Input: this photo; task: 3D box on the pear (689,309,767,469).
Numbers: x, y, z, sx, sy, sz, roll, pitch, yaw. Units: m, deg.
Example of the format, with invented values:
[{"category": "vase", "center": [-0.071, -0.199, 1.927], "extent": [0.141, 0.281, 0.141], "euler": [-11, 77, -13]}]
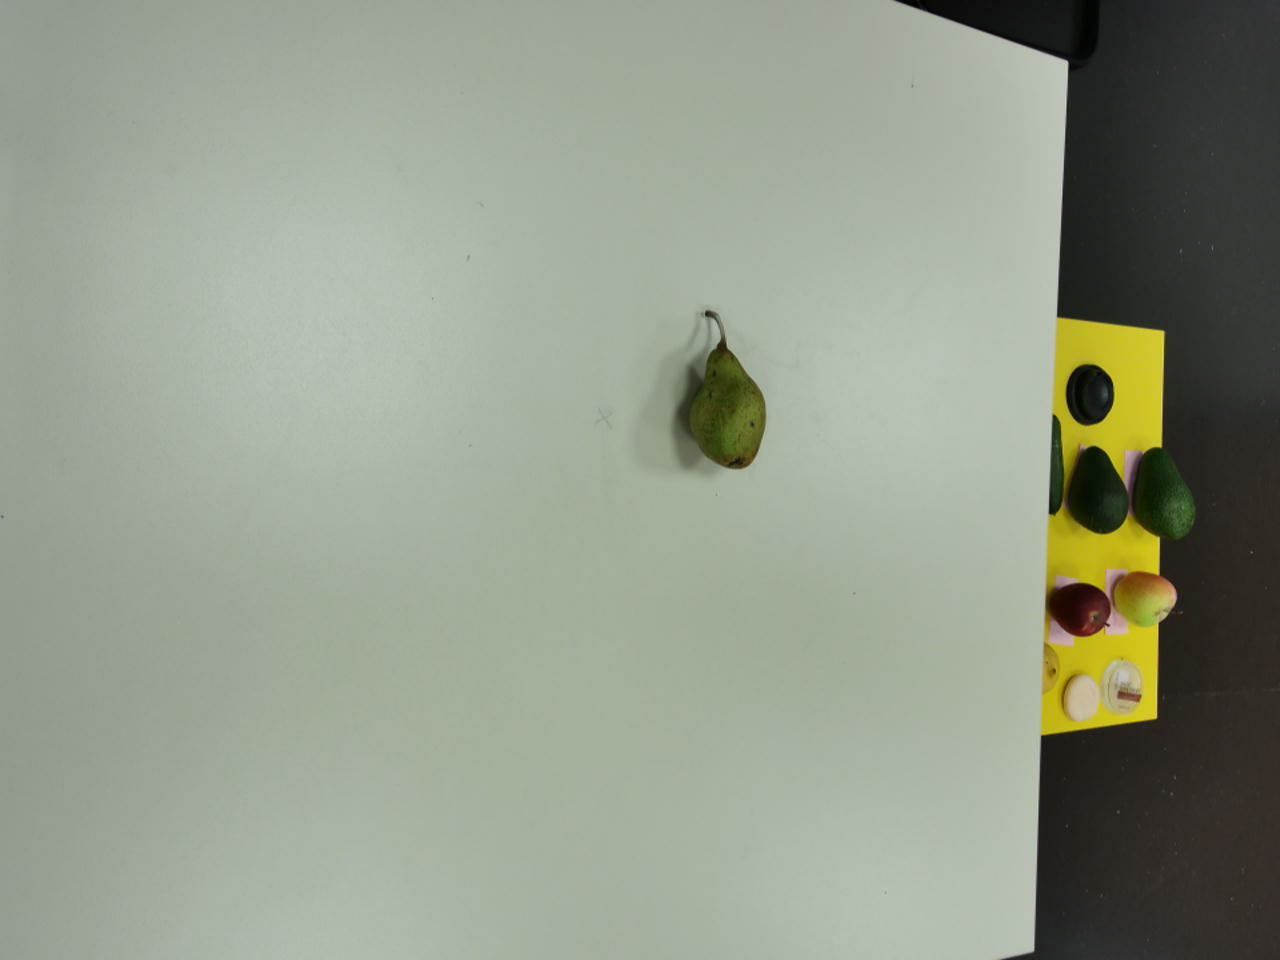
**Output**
[{"category": "pear", "center": [0.068, -0.063, 0.710], "extent": [0.056, 0.056, 0.111], "euler": [20, 81, -27]}]
